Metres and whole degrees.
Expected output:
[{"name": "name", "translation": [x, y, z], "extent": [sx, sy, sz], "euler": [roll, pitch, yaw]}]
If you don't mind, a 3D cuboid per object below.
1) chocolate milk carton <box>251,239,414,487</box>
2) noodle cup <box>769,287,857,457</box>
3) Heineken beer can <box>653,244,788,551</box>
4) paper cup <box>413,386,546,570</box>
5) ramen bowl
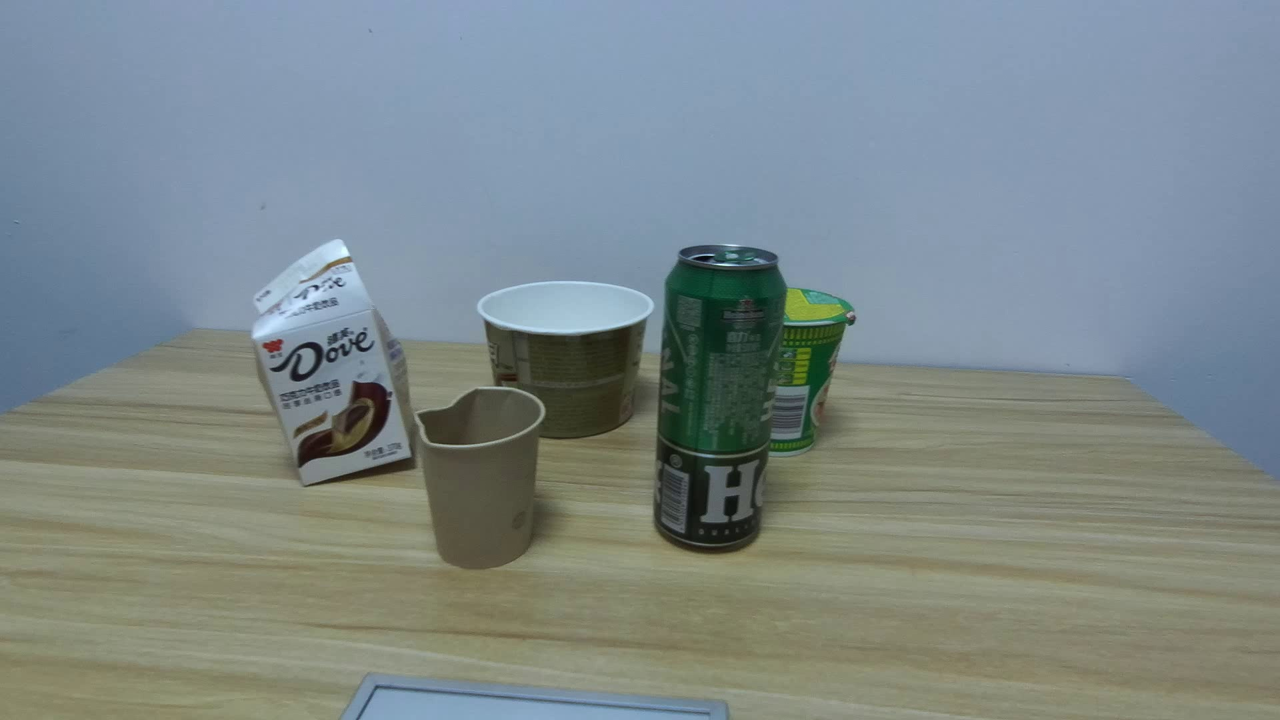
[{"name": "chocolate milk carton", "translation": [-0.209, 0.002, 0.483], "extent": [0.089, 0.156, 0.076], "euler": [-20, 24, -19]}, {"name": "noodle cup", "translation": [0.104, 0.009, 0.529], "extent": [0.097, 0.110, 0.097], "euler": [2, 20, 0]}, {"name": "Heineken beer can", "translation": [0.045, 0.024, 0.407], "extent": [0.067, 0.169, 0.067], "euler": [2, 19, 0]}, {"name": "paper cup", "translation": [-0.088, 0.068, 0.402], "extent": [0.069, 0.081, 0.073], "euler": [-7, 21, -24]}, {"name": "ramen bowl", "translation": [-0.059, -0.002, 0.575], "extent": [0.140, 0.095, 0.140], "euler": [2, 21, -1]}]
